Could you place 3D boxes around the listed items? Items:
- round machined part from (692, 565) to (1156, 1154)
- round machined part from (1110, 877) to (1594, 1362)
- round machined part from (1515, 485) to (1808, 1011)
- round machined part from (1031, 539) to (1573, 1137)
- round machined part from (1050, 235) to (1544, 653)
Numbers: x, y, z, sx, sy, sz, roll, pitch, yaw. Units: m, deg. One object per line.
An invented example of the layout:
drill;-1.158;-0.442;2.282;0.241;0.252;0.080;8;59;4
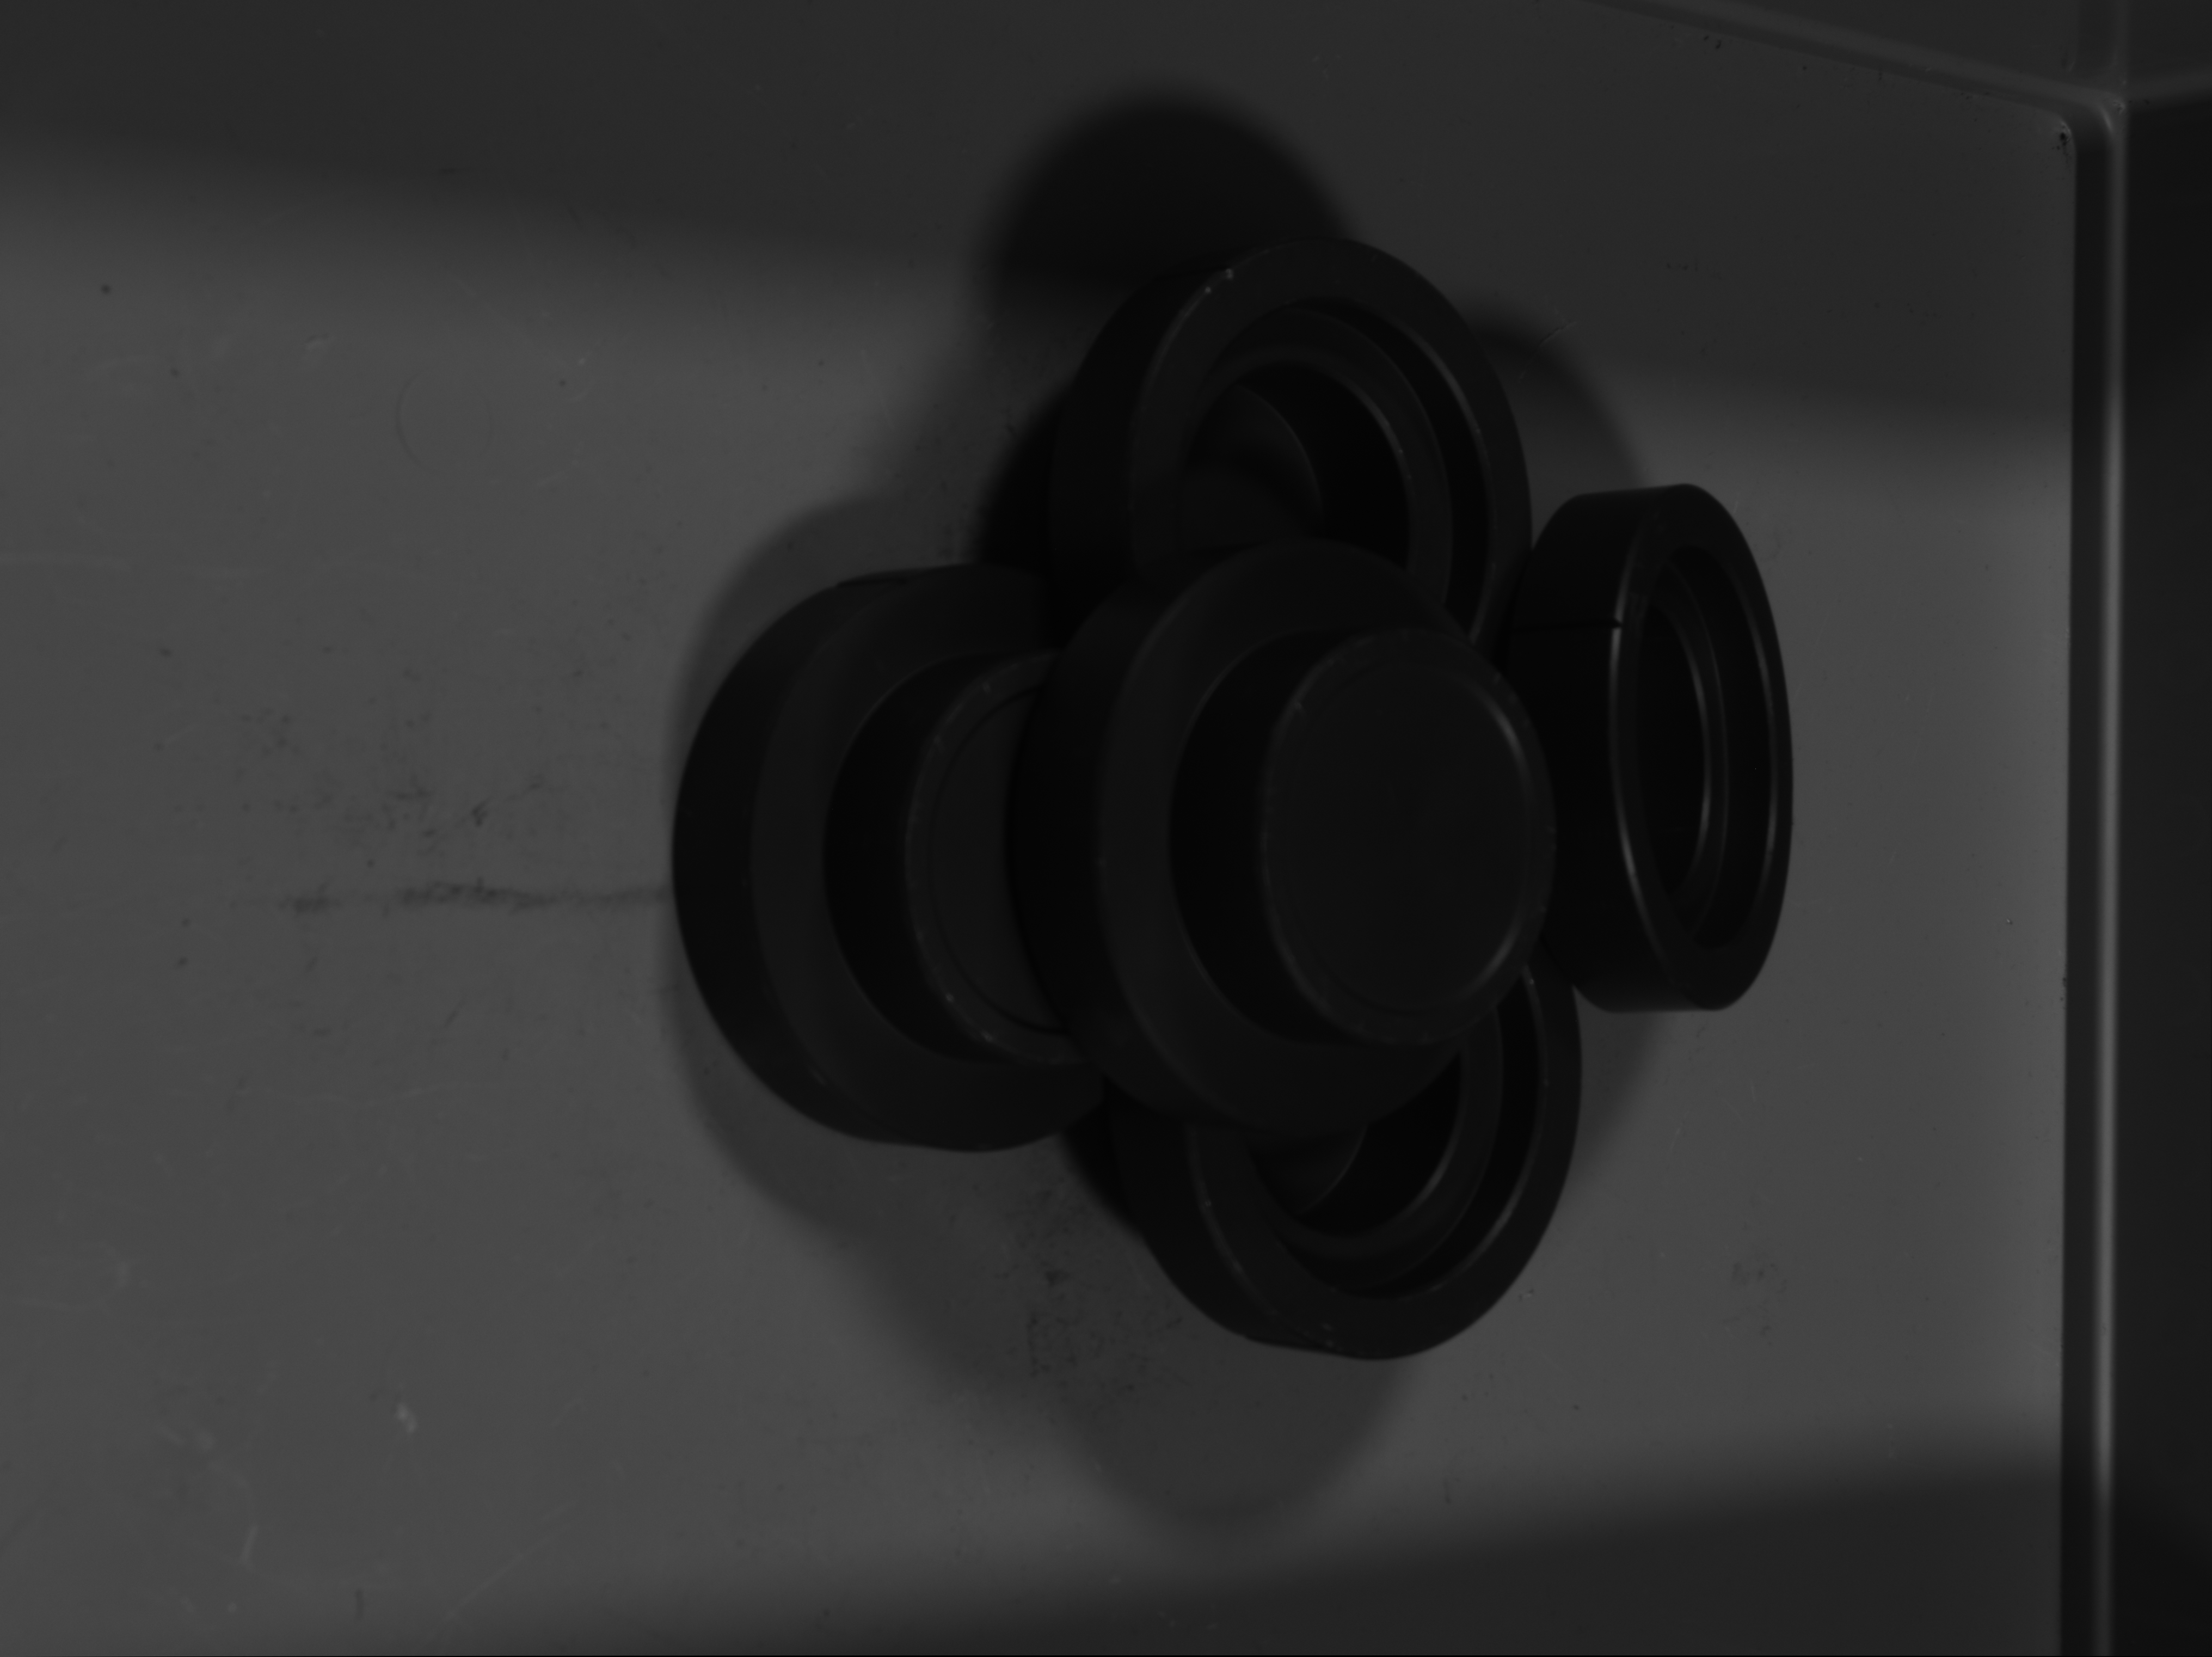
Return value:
round machined part;-0.016;0.005;0.609;0.098;0.042;0.098;0;90;-40
round machined part;0.039;0.044;0.657;0.098;0.042;0.098;0;90;-40
round machined part;0.096;-0.014;0.691;0.098;0.042;0.098;9;79;-59
round machined part;0.039;0.002;0.600;0.098;0.042;0.098;0;90;-40
round machined part;0.029;-0.054;0.649;0.098;0.042;0.098;0;90;-40
